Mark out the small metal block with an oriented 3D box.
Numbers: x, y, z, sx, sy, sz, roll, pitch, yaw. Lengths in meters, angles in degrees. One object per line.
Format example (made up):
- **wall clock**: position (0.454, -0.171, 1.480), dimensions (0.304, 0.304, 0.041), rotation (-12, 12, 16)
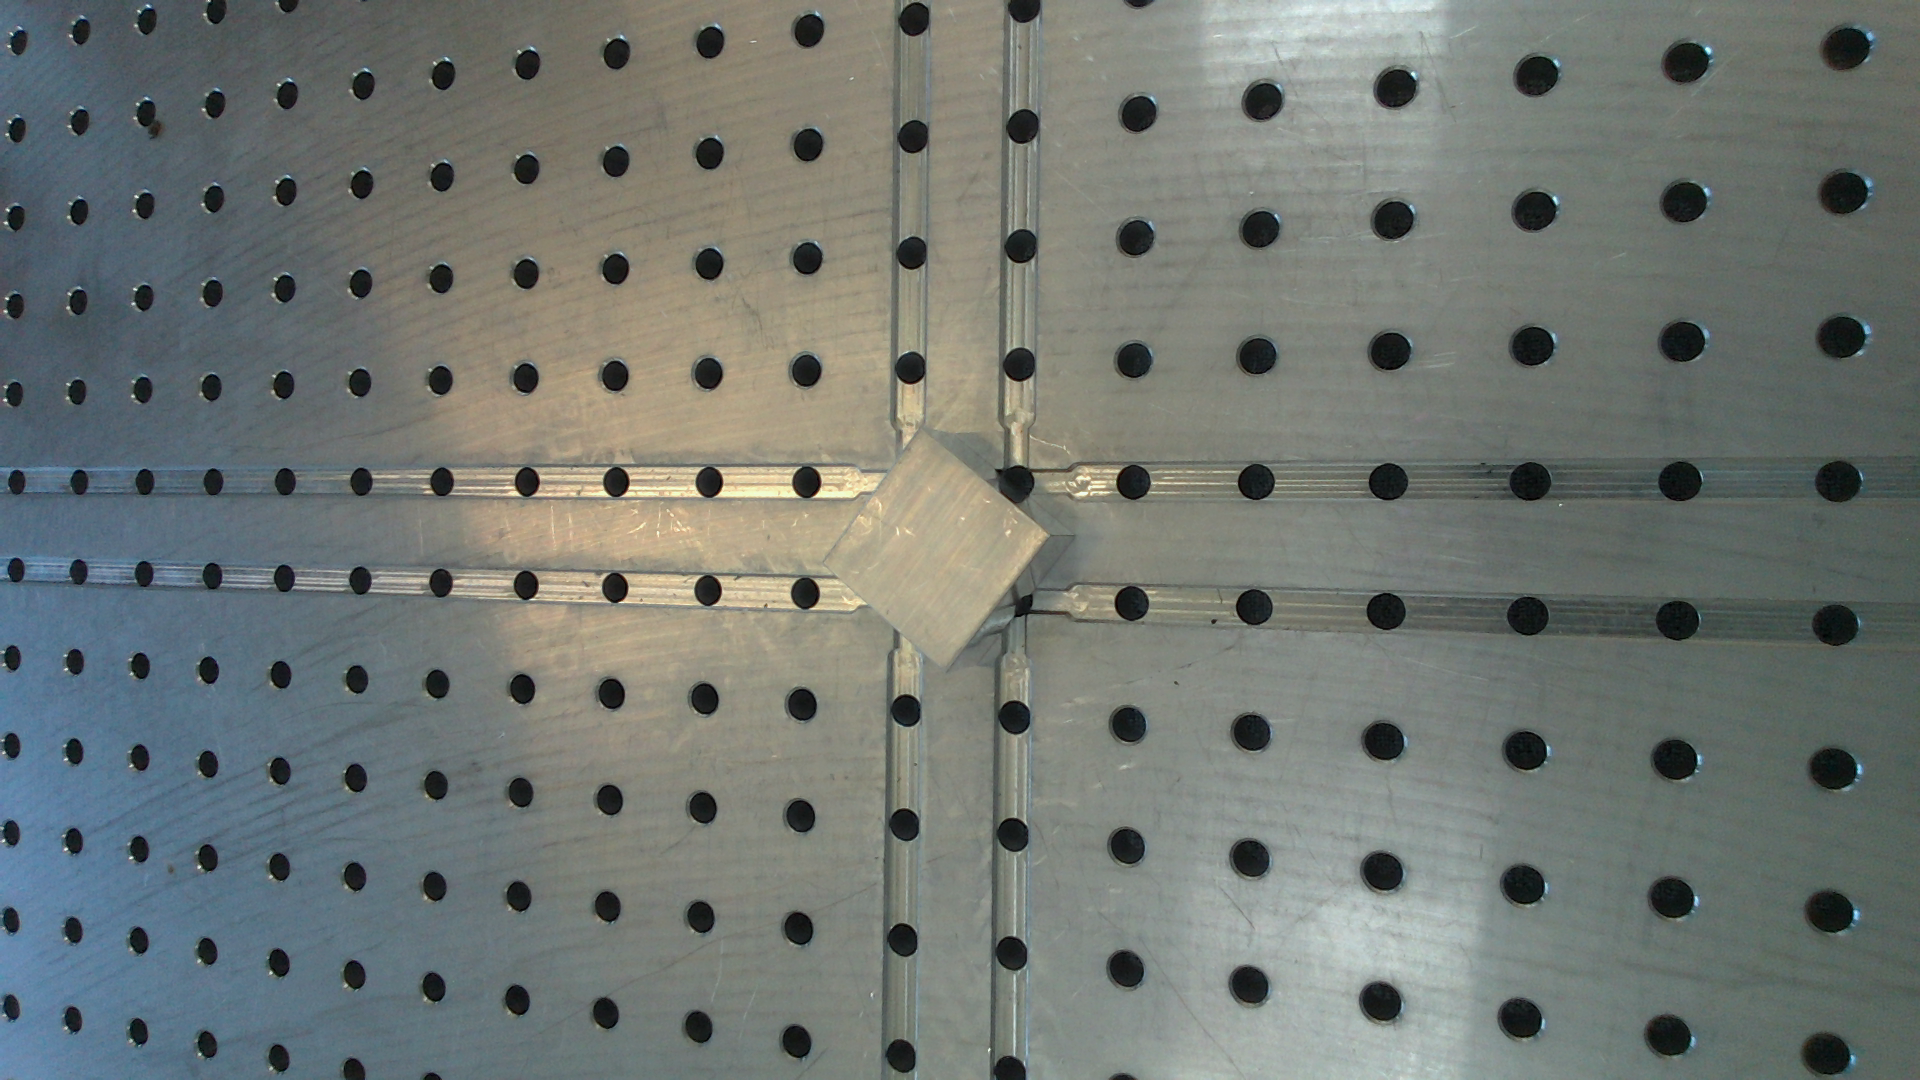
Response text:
- **small metal block**: position (-0.004, 0.003, 0.400), dimensions (0.050, 0.025, 0.050), rotation (40, 103, 15)
